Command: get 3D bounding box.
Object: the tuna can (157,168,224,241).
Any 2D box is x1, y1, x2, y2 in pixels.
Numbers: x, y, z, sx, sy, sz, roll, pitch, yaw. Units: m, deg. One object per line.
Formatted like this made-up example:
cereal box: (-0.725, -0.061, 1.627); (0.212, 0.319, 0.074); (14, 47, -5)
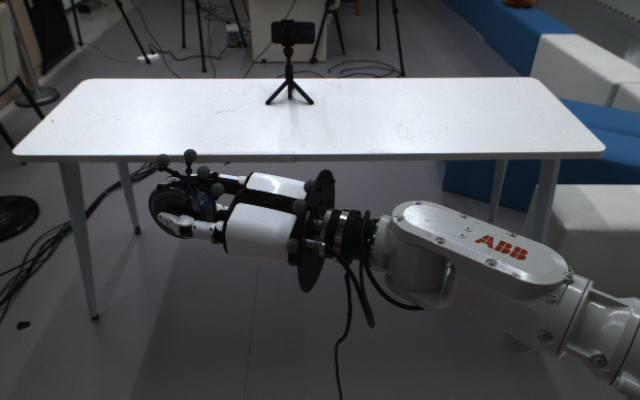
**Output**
tuna can: (-0.186, 0.011, 0.654); (0.085, 0.085, 0.034); (12, 35, 13)
